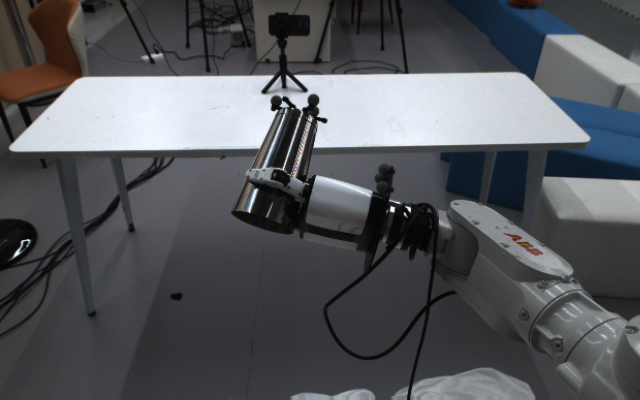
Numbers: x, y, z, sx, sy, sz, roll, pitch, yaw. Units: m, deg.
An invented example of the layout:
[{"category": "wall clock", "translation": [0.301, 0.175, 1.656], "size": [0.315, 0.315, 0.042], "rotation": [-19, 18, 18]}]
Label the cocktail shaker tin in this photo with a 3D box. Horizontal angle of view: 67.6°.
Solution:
[{"category": "cocktail shaker tin", "translation": [-0.059, -0.045, 0.707], "size": [0.093, 0.093, 0.170], "rotation": [13, 73, 15]}]
